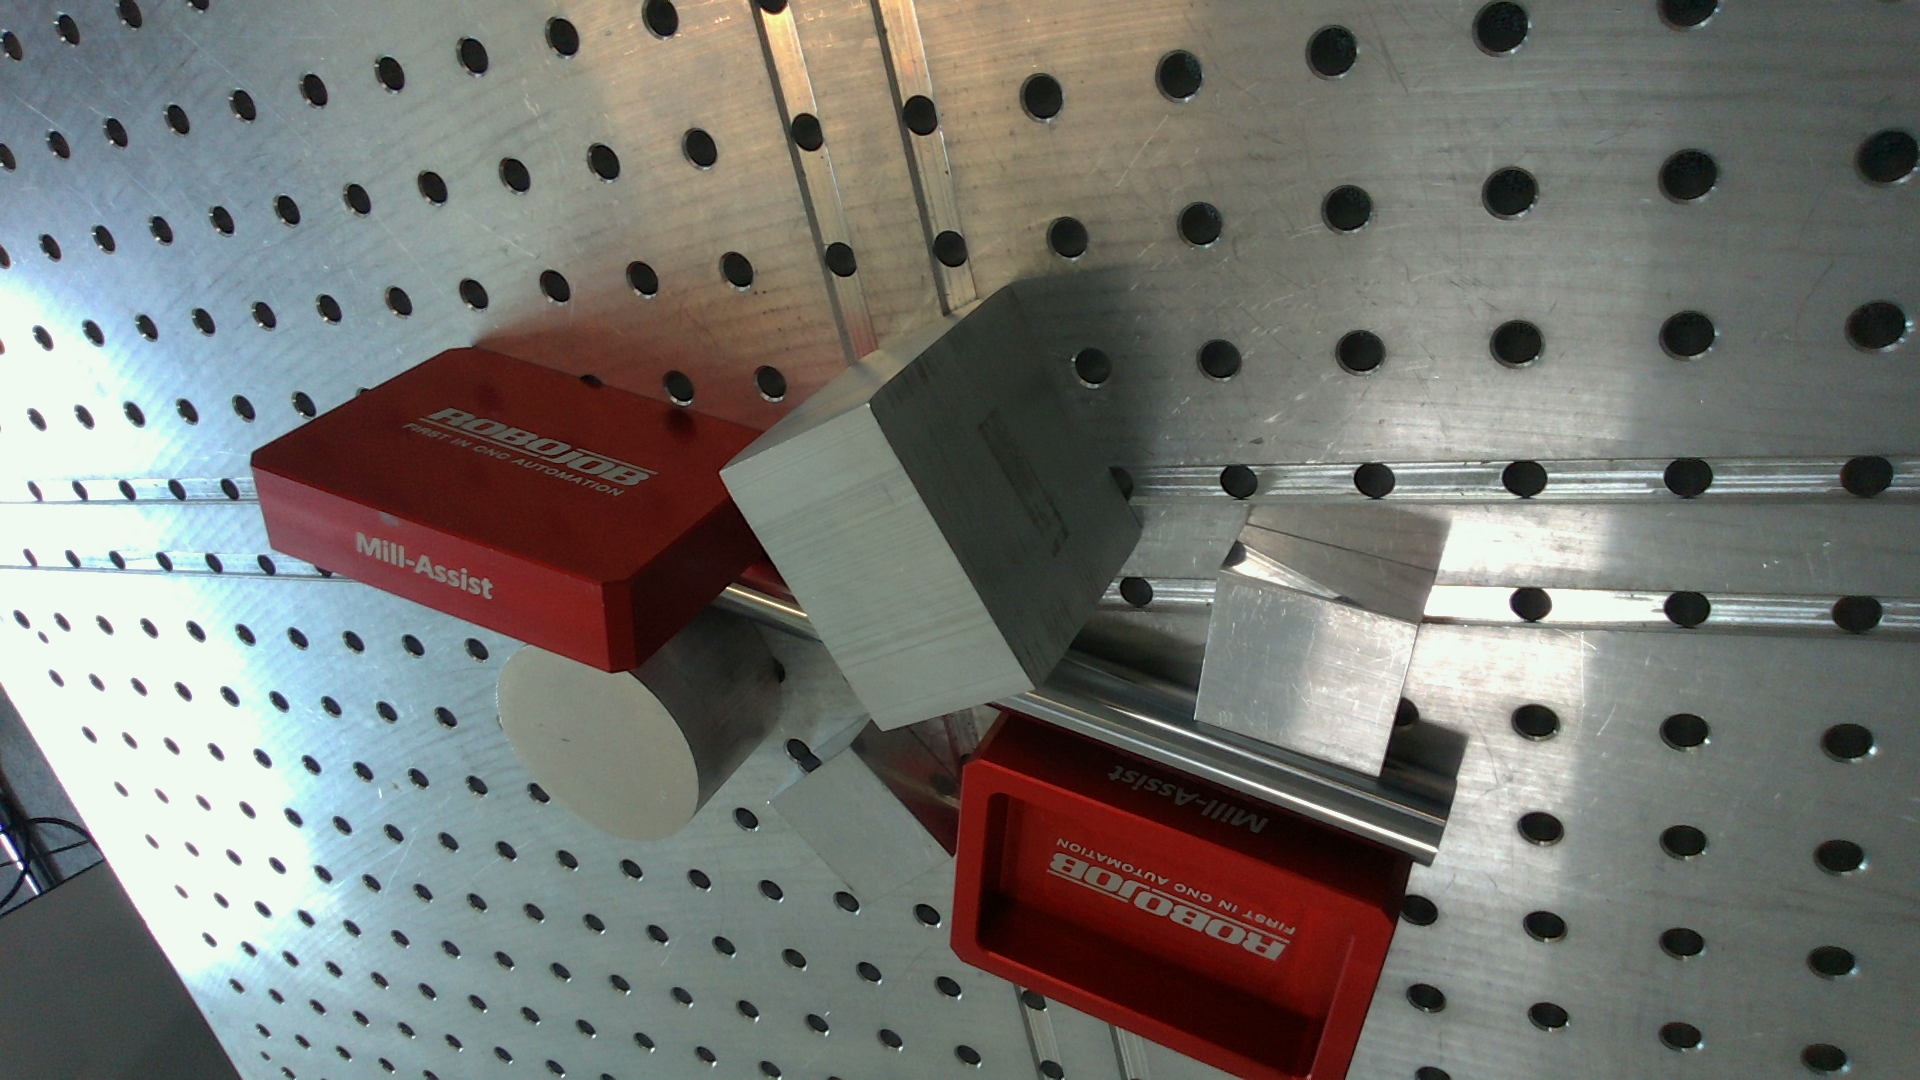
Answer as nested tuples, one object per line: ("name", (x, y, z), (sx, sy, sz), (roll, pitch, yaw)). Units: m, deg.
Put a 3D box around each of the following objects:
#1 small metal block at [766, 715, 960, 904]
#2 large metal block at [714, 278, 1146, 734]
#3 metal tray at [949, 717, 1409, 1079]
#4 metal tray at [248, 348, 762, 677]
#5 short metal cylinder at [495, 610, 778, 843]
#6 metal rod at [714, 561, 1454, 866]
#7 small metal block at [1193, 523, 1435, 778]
("small metal block", (-0.029, 0.090, 0.468), (0.050, 0.025, 0.050), (48, 129, -6))
("large metal block", (-0.004, -0.010, 0.358), (0.050, 0.080, 0.080), (-20, 108, 36))
("metal tray", (0.063, 0.113, 0.428), (0.130, 0.030, 0.090), (17, 126, 18))
("metal tray", (-0.129, -0.014, 0.413), (0.130, 0.090, 0.030), (17, 125, 18))
("short metal cylinder", (-0.110, 0.056, 0.473), (0.080, 0.050, 0.080), (13, 124, 21))
("metal rod", (-0.005, 0.033, 0.419), (0.299, 0.025, 0.025), (18, 126, 18))
("small metal block", (0.093, 0.029, 0.364), (0.050, 0.025, 0.050), (16, 125, 19))
